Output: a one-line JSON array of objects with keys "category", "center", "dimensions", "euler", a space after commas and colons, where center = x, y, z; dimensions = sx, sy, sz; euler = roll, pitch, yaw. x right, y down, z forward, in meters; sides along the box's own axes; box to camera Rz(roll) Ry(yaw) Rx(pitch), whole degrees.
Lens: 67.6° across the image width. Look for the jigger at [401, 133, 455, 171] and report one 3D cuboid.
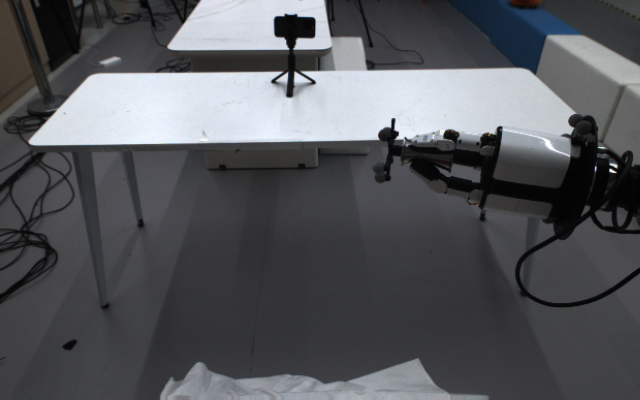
[{"category": "jigger", "center": [0.154, -0.067, 0.665], "dimensions": [0.071, 0.043, 0.043], "euler": [8, 35, 12]}]
